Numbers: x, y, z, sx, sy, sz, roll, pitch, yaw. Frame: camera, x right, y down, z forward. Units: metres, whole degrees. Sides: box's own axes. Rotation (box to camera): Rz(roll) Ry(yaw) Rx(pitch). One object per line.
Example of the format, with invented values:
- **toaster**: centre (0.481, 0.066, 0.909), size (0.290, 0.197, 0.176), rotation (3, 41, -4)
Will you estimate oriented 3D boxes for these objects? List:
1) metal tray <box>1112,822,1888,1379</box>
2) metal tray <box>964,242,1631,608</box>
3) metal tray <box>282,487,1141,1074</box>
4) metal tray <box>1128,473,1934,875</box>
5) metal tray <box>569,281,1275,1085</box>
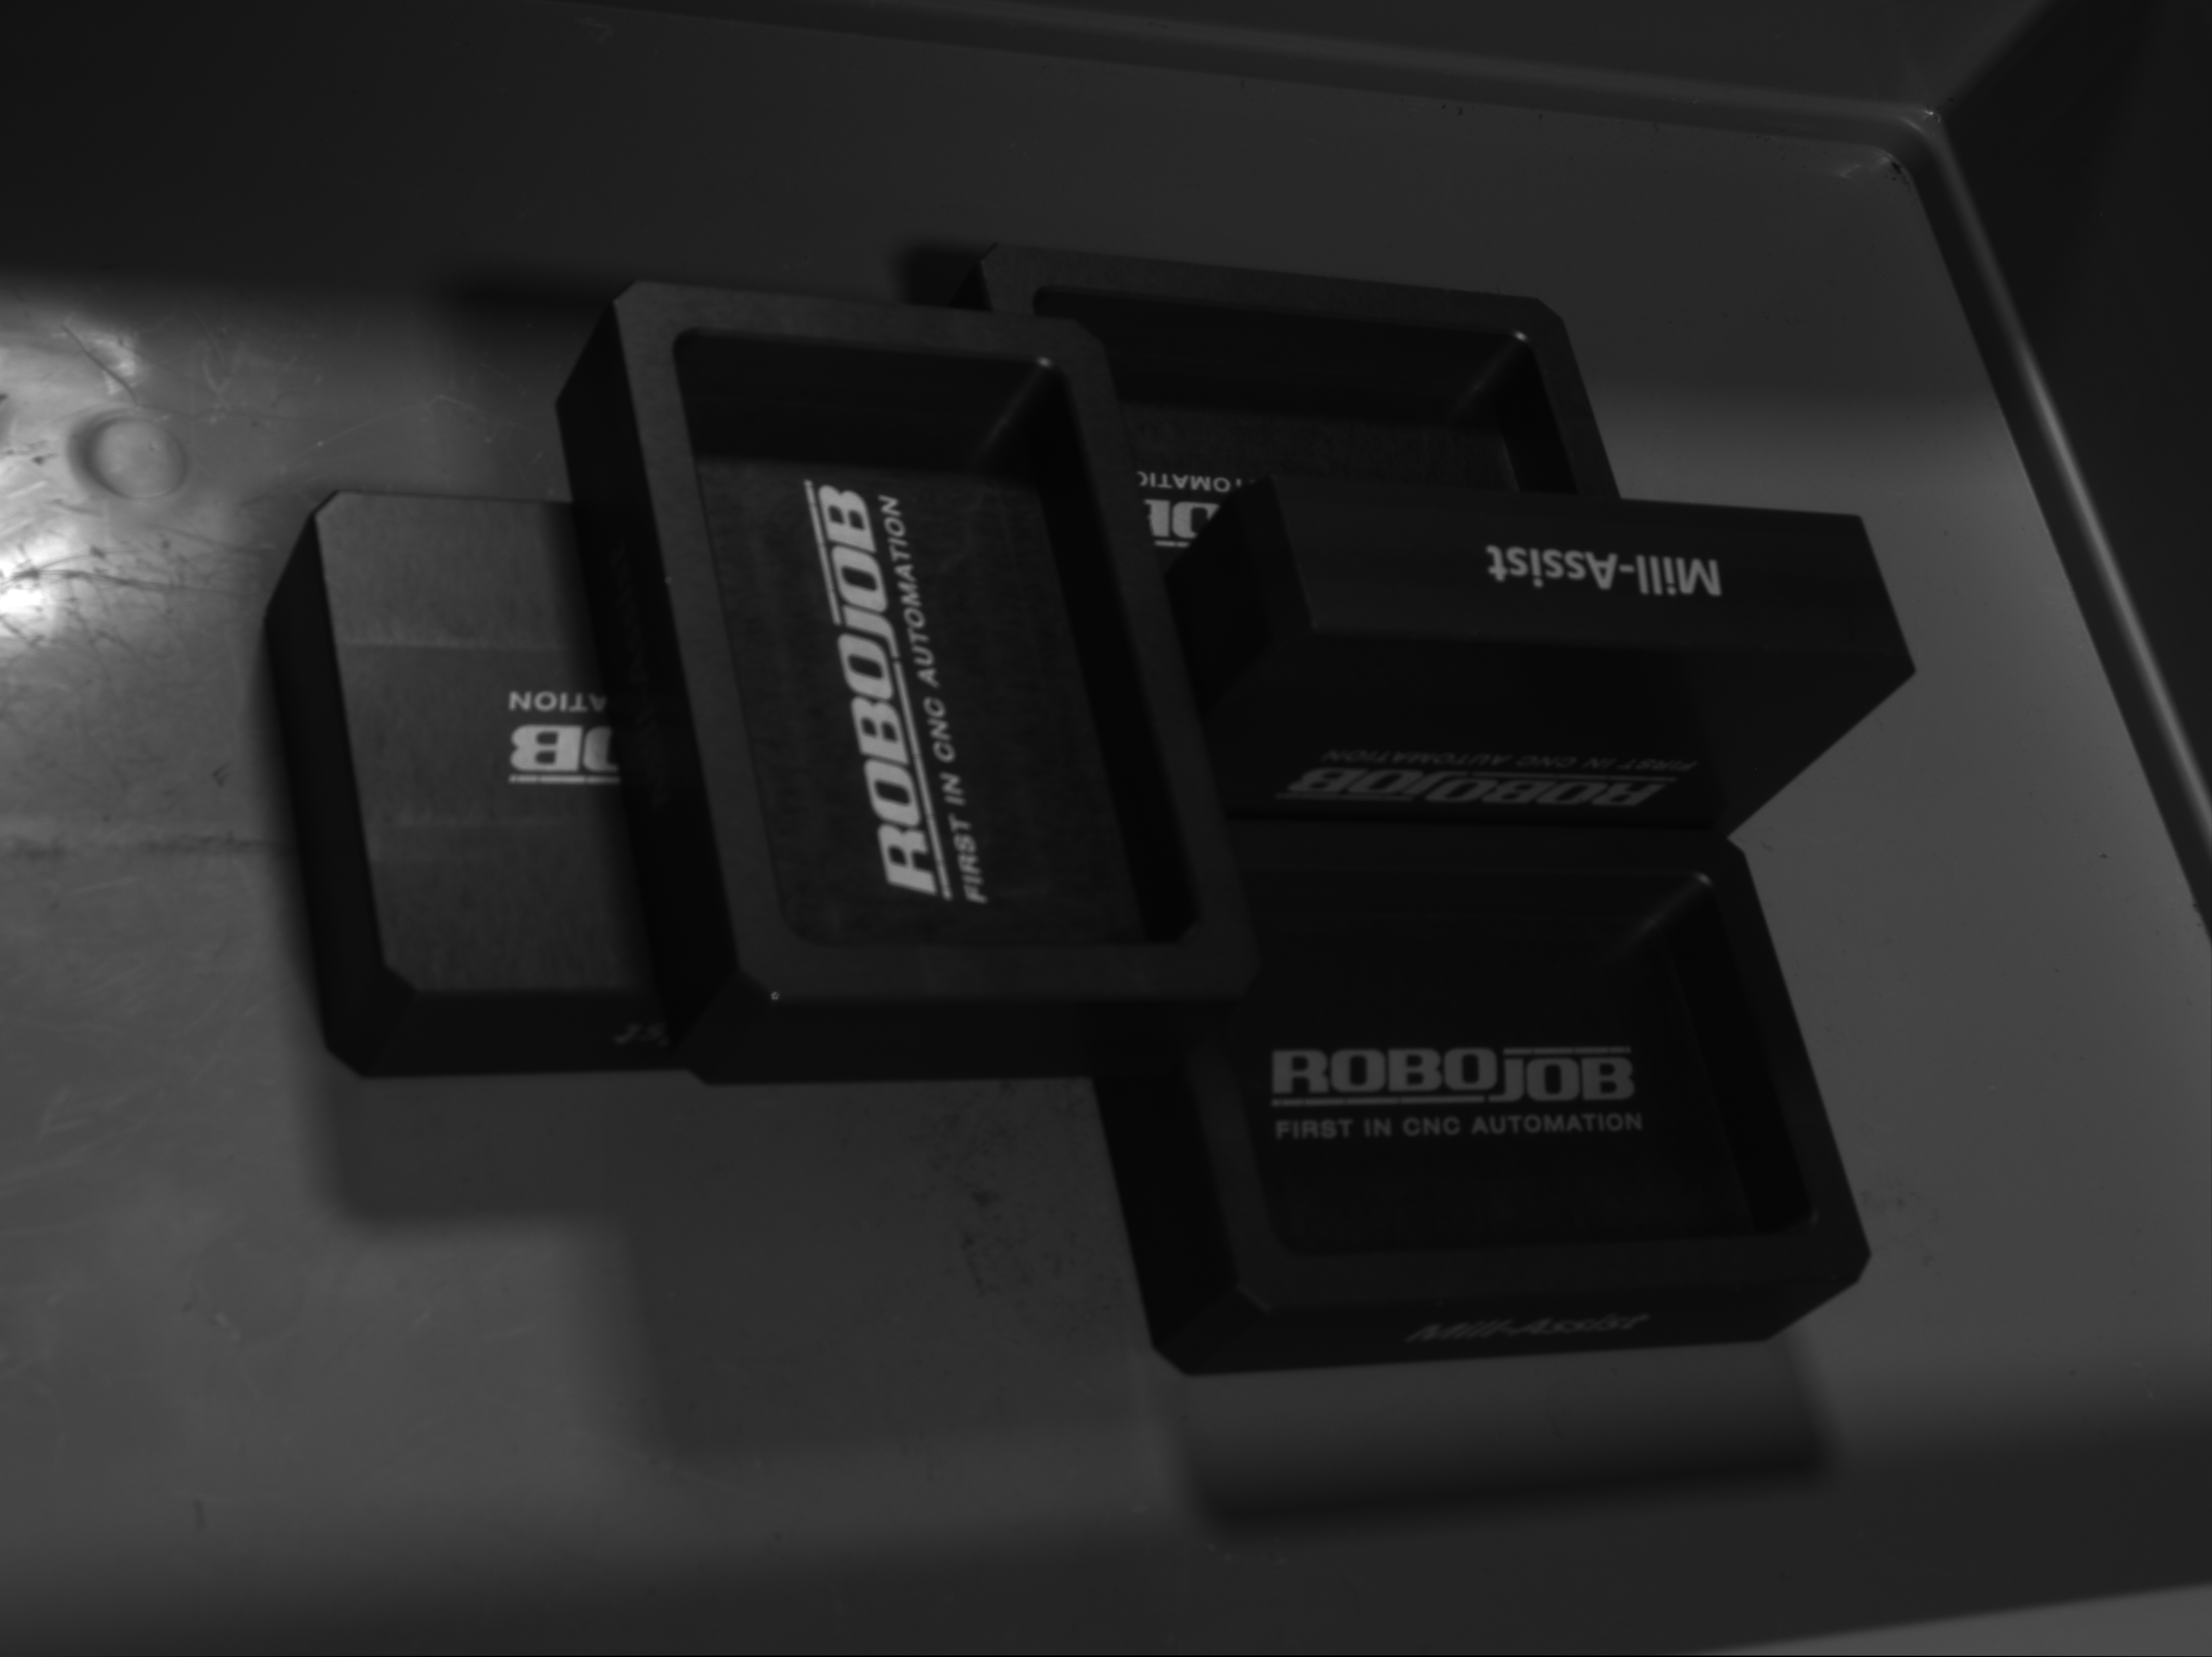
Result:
- **metal tray**: centre (0.066, 0.046, 0.642), size (0.130, 0.030, 0.090), rotation (1, 61, -28)
- **metal tray**: centre (0.039, -0.061, 0.694), size (0.130, 0.030, 0.090), rotation (1, 61, -28)
- **metal tray**: centre (-0.063, -0.008, 0.604), size (0.130, 0.030, 0.090), rotation (0, 61, -28)
- **metal tray**: centre (0.067, -0.022, 0.645), size (0.130, 0.090, 0.030), rotation (1, 61, -28)
- **metal tray**: centre (-0.031, -0.024, 0.593), size (0.090, 0.030, 0.130), rotation (1, 61, -28)
